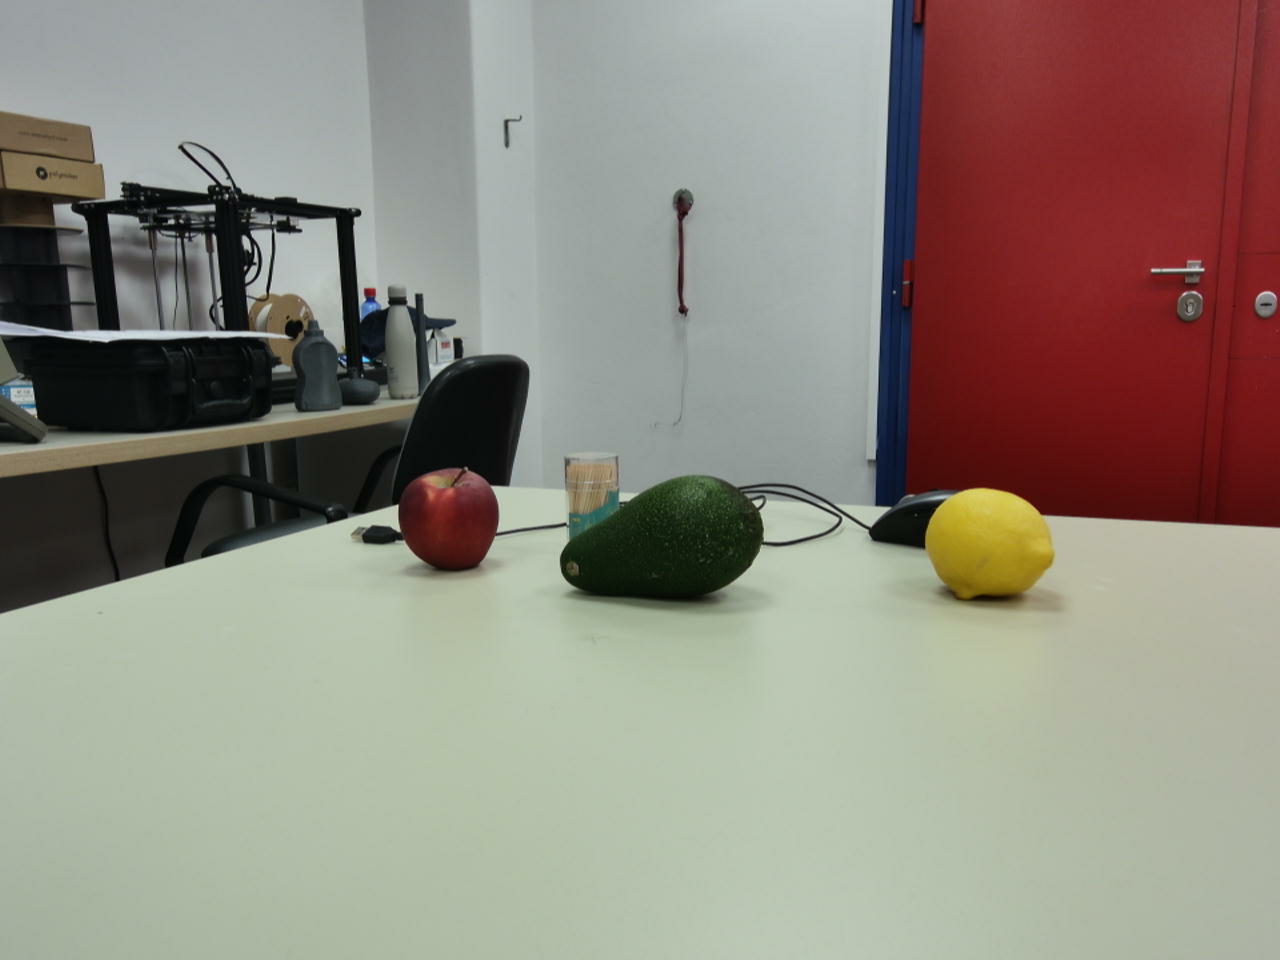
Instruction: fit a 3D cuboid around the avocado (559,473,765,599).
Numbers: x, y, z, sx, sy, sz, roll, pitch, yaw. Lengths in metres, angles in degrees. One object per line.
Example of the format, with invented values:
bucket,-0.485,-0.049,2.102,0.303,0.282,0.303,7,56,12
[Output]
avocado,0.017,0.034,0.619,0.123,0.076,0.074,4,8,29
